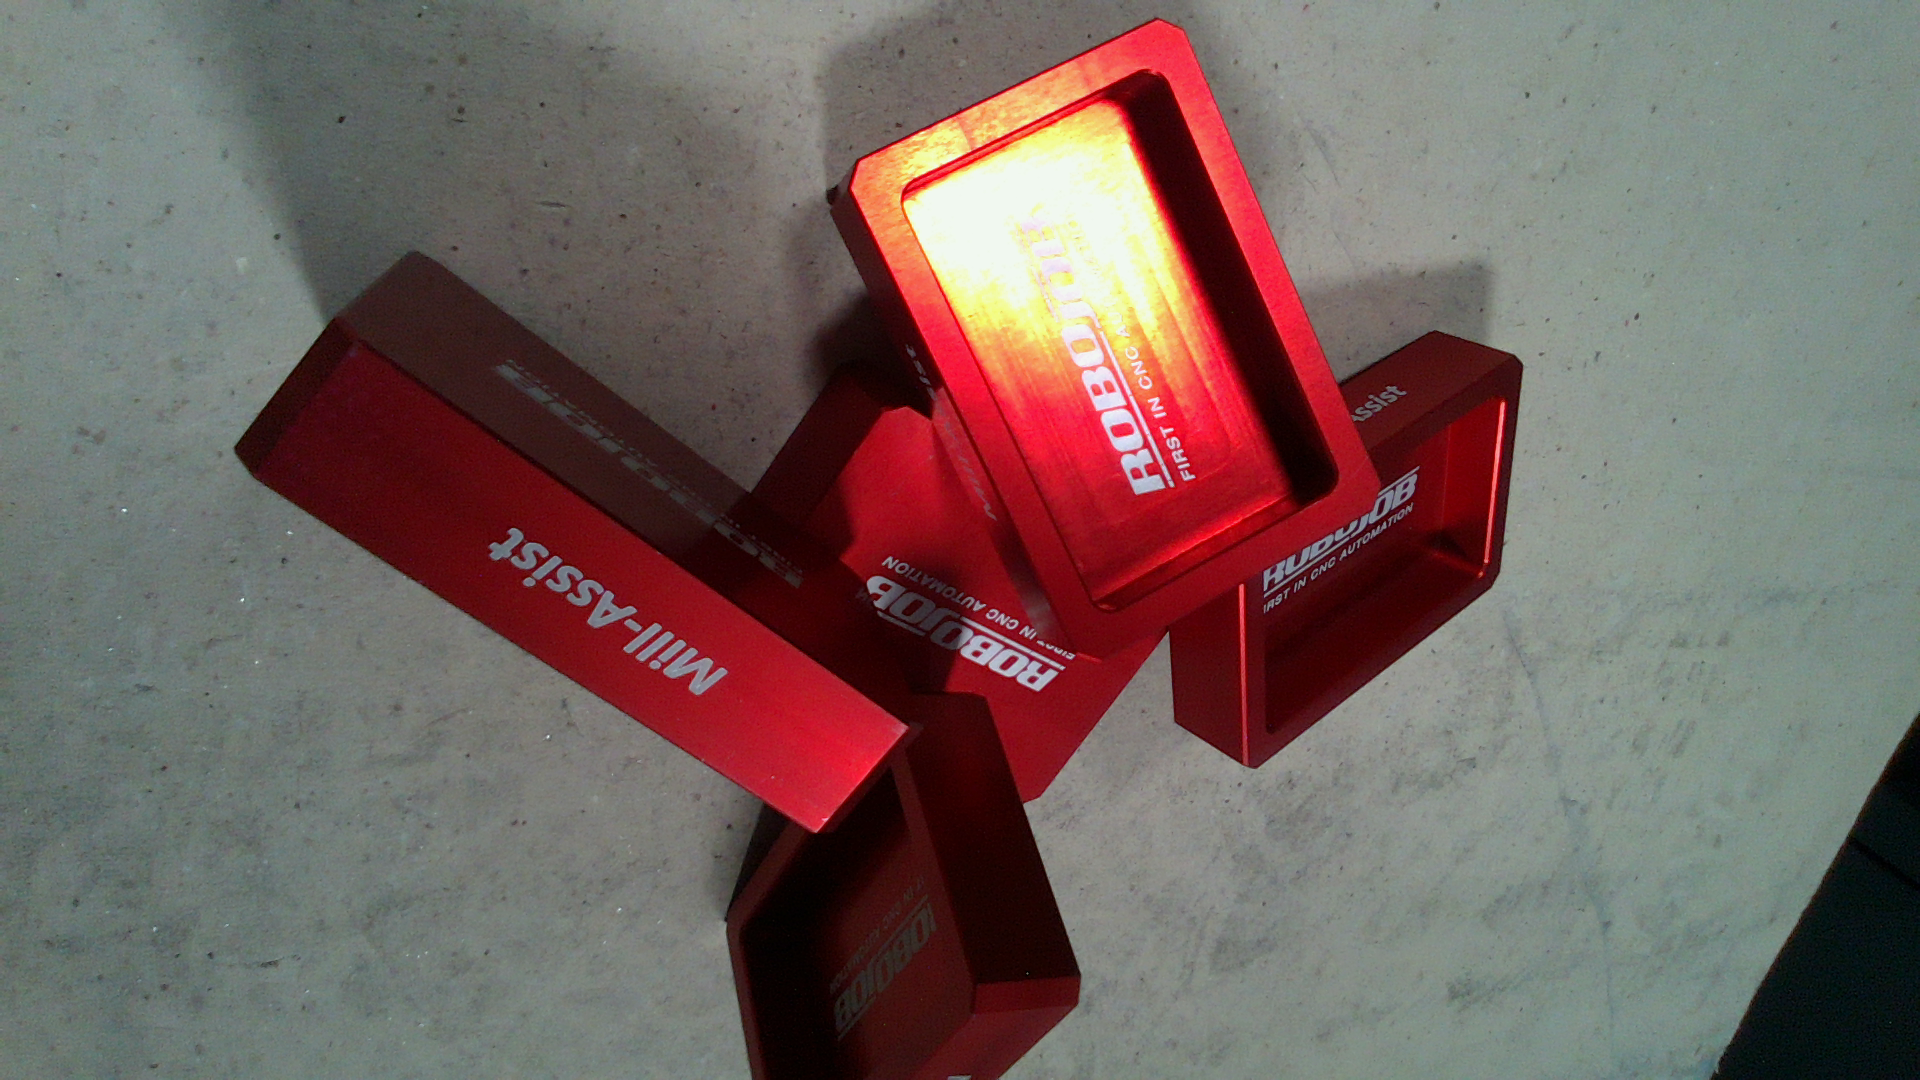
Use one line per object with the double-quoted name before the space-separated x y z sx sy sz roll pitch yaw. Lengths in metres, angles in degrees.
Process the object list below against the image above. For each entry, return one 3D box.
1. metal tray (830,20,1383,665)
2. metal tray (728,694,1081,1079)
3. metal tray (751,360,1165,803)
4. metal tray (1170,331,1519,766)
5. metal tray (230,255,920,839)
"metal tray" 0.037 -0.047 0.339 0.090 0.030 0.130 -28 99 -11
"metal tray" -0.023 0.115 0.381 0.030 0.090 0.130 6 136 -30
"metal tray" -0.004 0.018 0.395 0.130 0.030 0.090 28 103 -38
"metal tray" 0.121 0.001 0.431 0.130 0.030 0.090 -30 130 -28
"metal tray" -0.073 -0.001 0.288 0.130 0.090 0.030 38 97 -22
